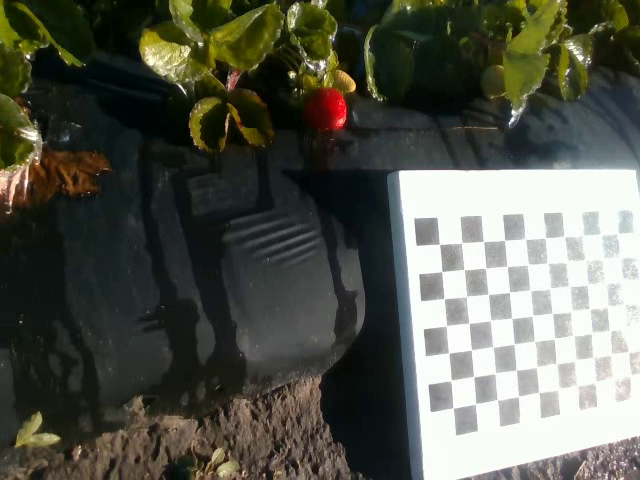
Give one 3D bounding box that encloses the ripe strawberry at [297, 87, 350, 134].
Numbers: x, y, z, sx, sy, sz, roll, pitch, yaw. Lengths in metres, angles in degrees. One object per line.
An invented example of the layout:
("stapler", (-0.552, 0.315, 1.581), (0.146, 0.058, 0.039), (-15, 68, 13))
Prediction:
("ripe strawberry", (0.008, -0.084, 0.433), (0.039, 0.040, 0.039), (-13, 27, -14))
